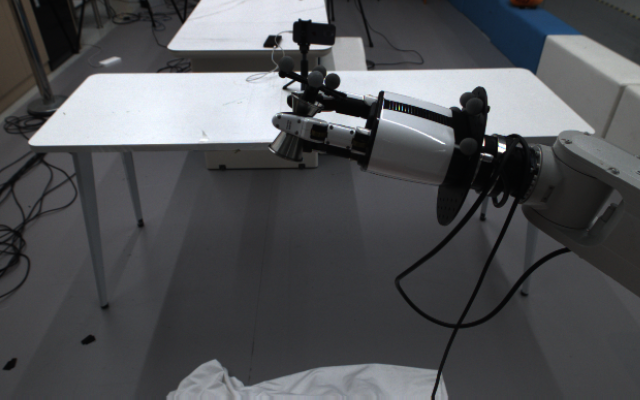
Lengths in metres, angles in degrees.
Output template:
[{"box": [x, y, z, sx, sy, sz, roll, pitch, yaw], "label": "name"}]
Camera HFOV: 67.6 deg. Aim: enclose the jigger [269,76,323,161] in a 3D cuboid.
[{"box": [-0.027, -0.083, 0.548, 0.043, 0.071, 0.043, 23, 19, -8], "label": "jigger"}]
